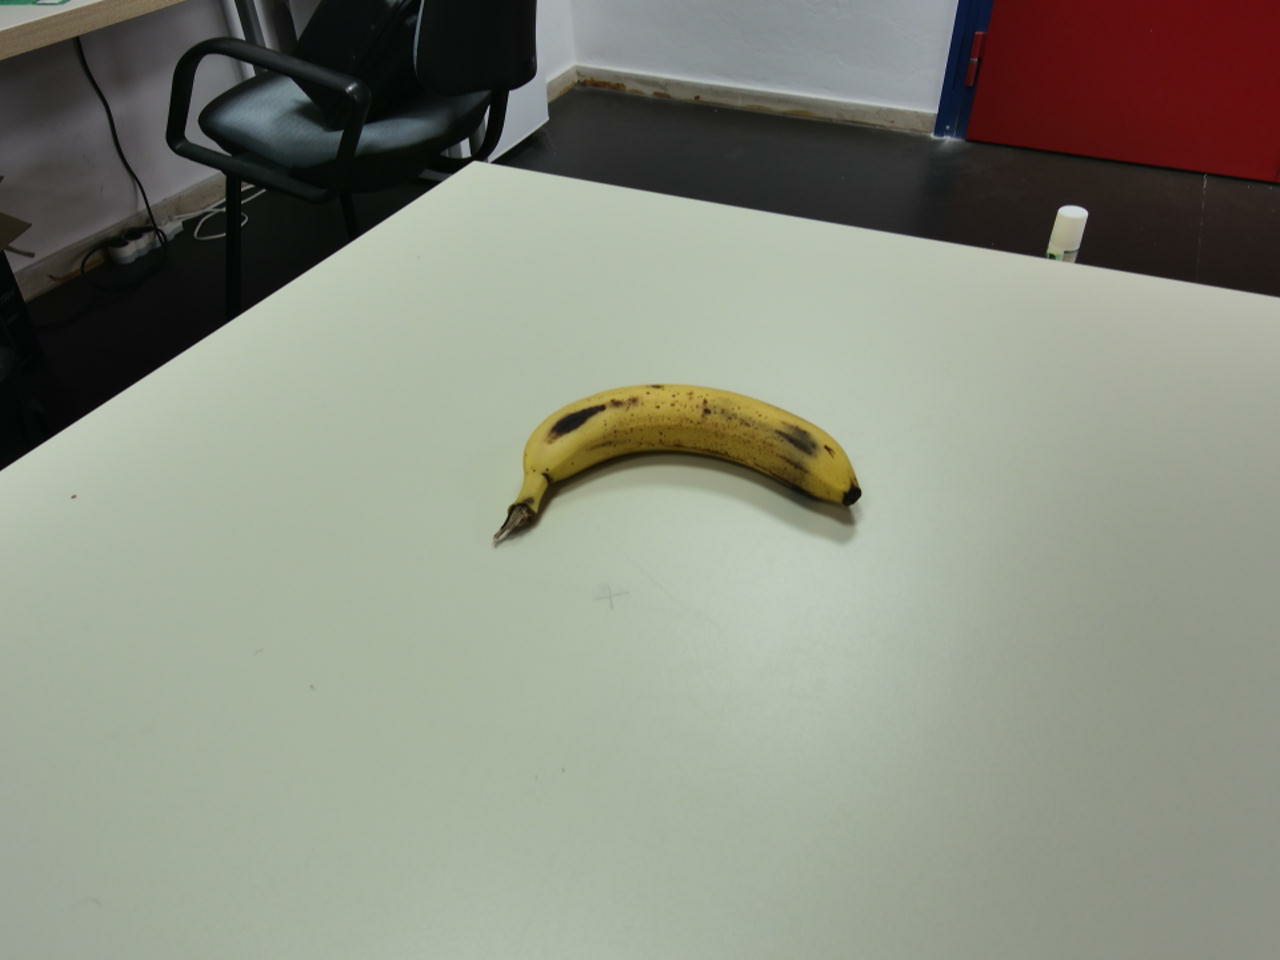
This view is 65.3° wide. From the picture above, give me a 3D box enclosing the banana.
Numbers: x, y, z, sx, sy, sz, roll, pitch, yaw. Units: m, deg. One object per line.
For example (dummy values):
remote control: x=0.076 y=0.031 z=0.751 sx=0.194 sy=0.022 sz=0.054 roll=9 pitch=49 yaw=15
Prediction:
banana: x=0.020 y=-0.016 z=0.548 sx=0.186 sy=0.038 sz=0.097 roll=-2 pitch=38 yaw=-1
